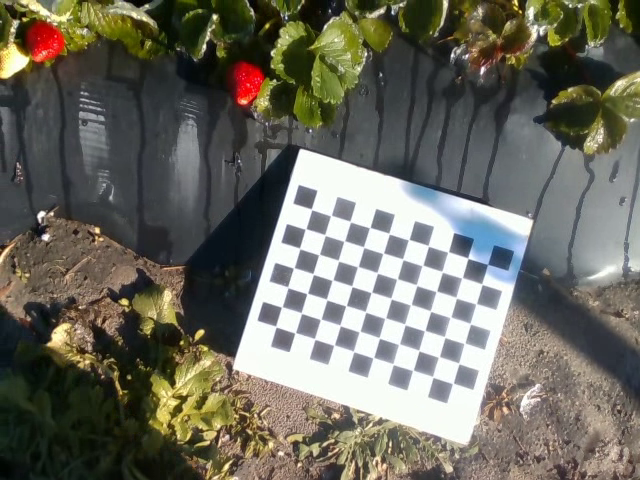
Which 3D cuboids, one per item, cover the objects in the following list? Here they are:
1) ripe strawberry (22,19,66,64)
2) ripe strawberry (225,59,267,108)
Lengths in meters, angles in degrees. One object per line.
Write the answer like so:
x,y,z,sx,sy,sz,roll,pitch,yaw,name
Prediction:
-0.264,-0.182,0.548,0.037,0.040,0.051,3,39,1,ripe strawberry
-0.071,-0.144,0.544,0.041,0.053,0.047,11,-41,1,ripe strawberry
